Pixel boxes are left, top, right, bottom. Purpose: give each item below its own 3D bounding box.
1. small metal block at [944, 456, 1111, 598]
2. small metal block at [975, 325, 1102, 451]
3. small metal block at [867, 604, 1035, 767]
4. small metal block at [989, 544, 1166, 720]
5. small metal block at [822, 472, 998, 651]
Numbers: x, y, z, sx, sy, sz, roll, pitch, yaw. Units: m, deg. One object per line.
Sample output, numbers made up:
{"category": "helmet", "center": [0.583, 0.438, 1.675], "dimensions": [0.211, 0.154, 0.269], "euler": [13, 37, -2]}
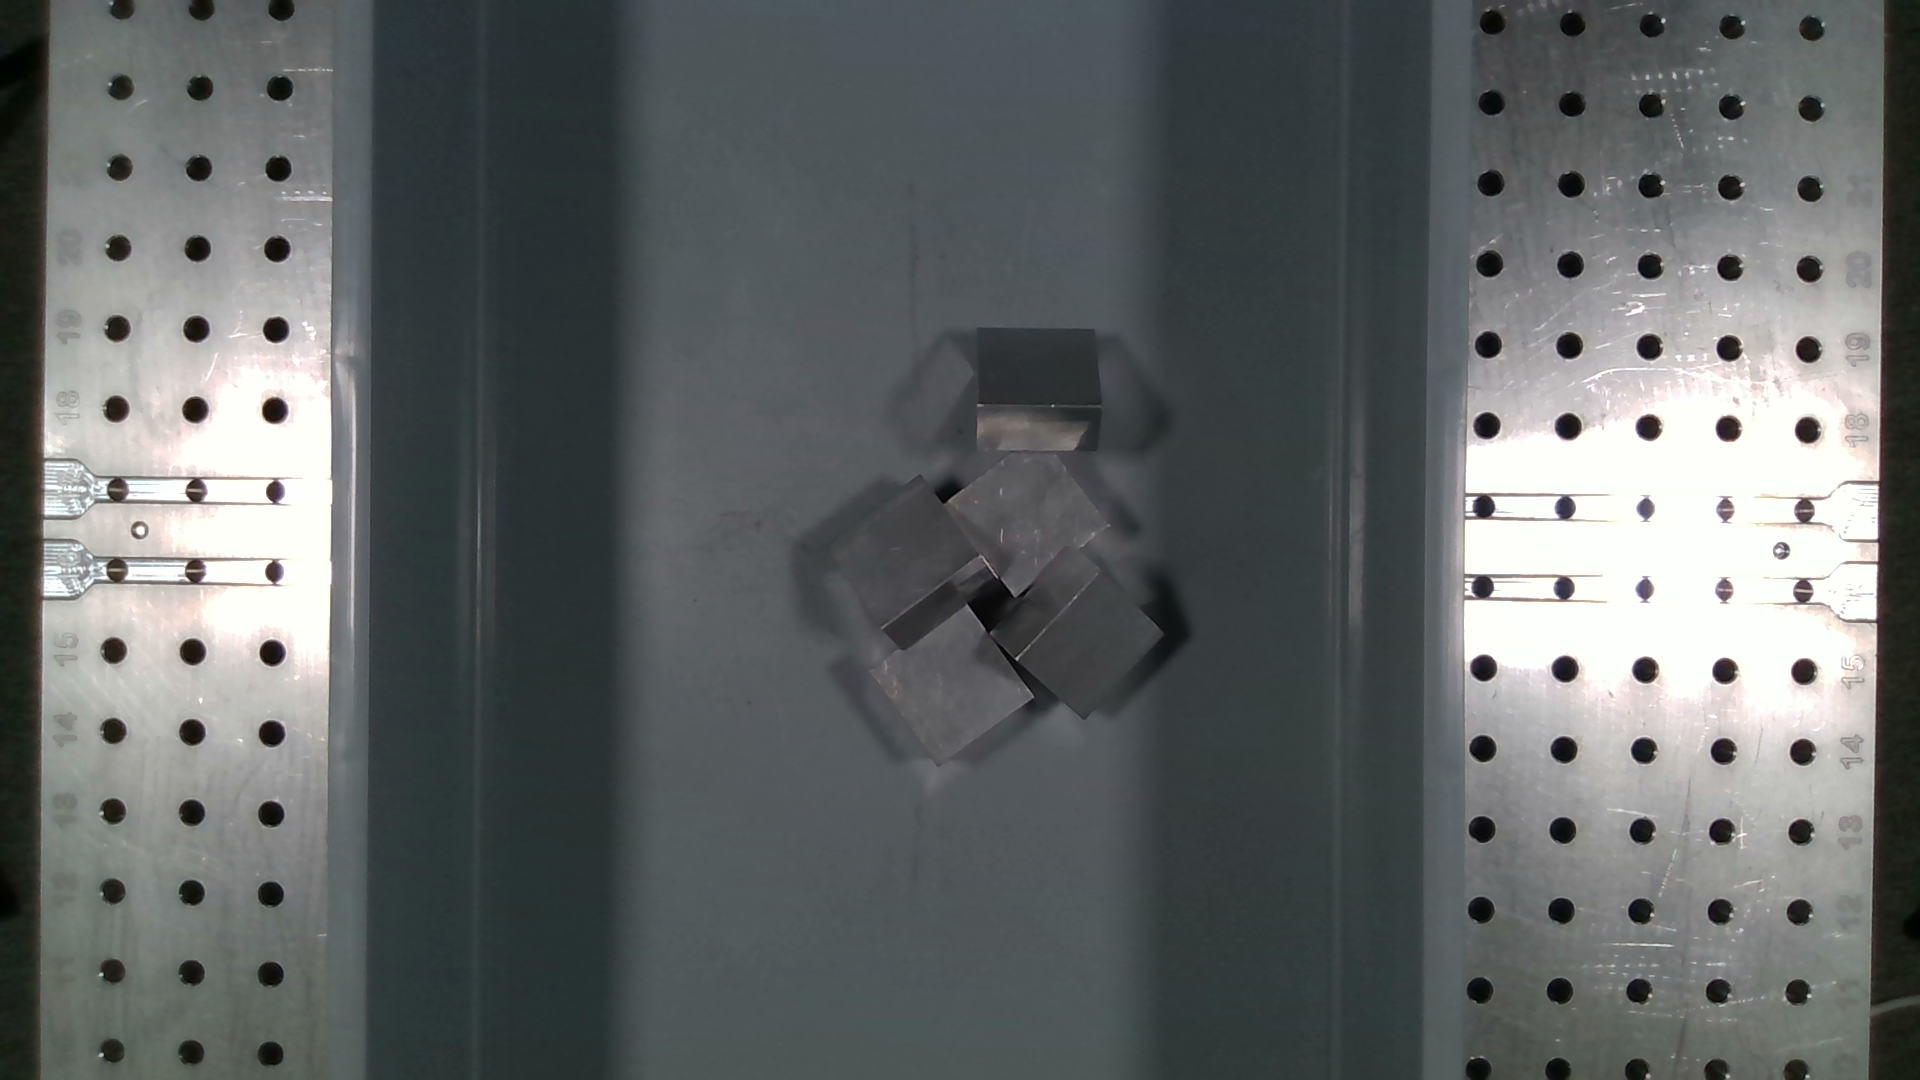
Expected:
{"category": "small metal block", "center": [0.028, -0.011, 0.586], "dimensions": [0.050, 0.025, 0.050], "euler": [-38, 90, 0]}
{"category": "small metal block", "center": [0.031, -0.063, 0.572], "dimensions": [0.050, 0.025, 0.050], "euler": [1, 47, -1]}
{"category": "small metal block", "center": [-0.004, 0.060, 0.586], "dimensions": [0.050, 0.025, 0.050], "euler": [-36, 90, 0]}
{"category": "small metal block", "center": [0.049, 0.039, 0.575], "dimensions": [0.050, 0.025, 0.050], "euler": [-47, 125, 0]}
{"category": "small metal block", "center": [-0.021, 0.009, 0.574], "dimensions": [0.050, 0.025, 0.050], "euler": [-37, 59, 0]}
